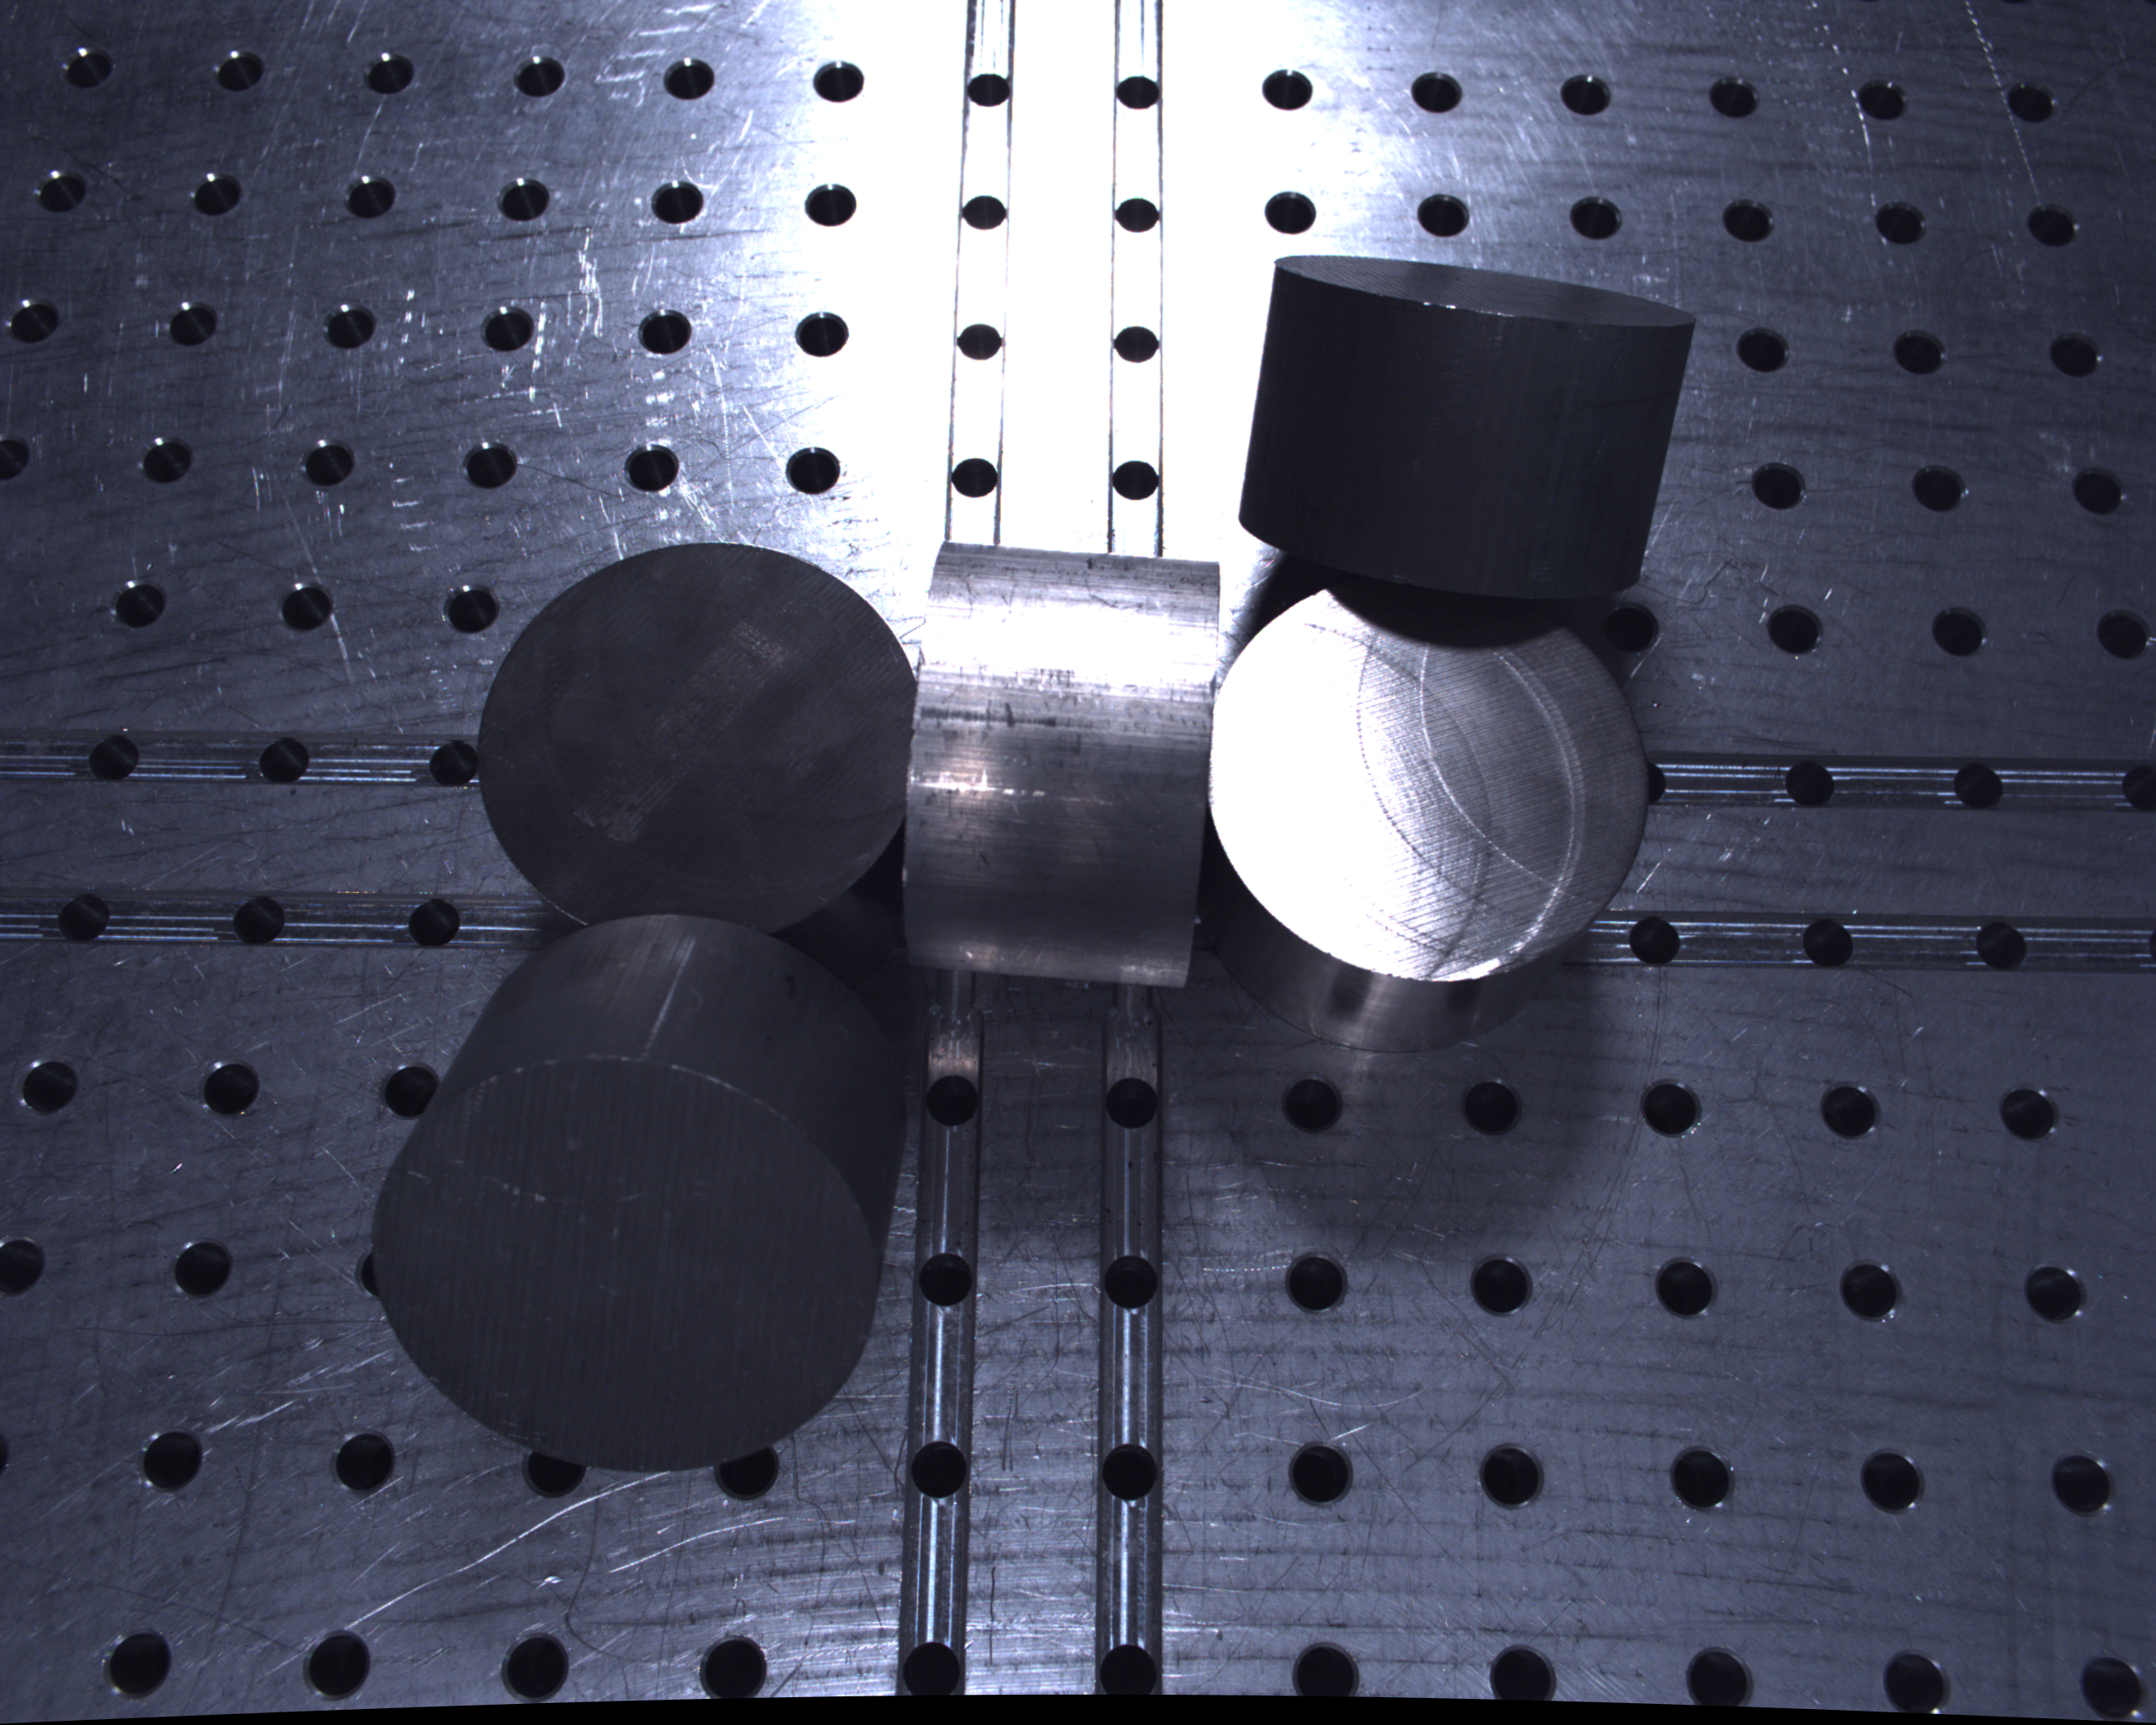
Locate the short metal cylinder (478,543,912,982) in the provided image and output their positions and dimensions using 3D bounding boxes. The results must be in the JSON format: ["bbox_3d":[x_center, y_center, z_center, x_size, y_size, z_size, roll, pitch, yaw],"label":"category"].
[{"bbox_3d":[-0.069,-0.014,0.402,0.081,0.050,0.080,0,70,0],"label":"short metal cylinder"}]

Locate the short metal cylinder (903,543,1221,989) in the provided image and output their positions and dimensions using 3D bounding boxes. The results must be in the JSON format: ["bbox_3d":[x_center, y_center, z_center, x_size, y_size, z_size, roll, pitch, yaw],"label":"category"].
[{"bbox_3d":[-0.002,-0.018,0.389,0.050,0.080,0.080,5,70,1],"label":"short metal cylinder"}]

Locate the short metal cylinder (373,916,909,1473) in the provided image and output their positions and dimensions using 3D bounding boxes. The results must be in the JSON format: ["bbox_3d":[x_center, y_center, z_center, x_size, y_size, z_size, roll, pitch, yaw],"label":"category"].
[{"bbox_3d":[-0.071,0.056,0.355,0.081,0.050,0.079,0,114,1],"label":"short metal cylinder"}]

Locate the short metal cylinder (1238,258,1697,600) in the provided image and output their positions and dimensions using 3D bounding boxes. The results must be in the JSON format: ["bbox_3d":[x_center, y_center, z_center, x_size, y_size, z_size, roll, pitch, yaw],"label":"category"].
[{"bbox_3d":[0.075,-0.087,0.408,0.080,0.080,0.050,8,112,2],"label":"short metal cylinder"}]

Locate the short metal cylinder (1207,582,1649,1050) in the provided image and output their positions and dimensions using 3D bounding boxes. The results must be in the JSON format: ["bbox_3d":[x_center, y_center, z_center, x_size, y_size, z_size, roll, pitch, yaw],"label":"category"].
[{"bbox_3d":[0.063,-0.009,0.402,0.081,0.050,0.080,0,70,0],"label":"short metal cylinder"}]
